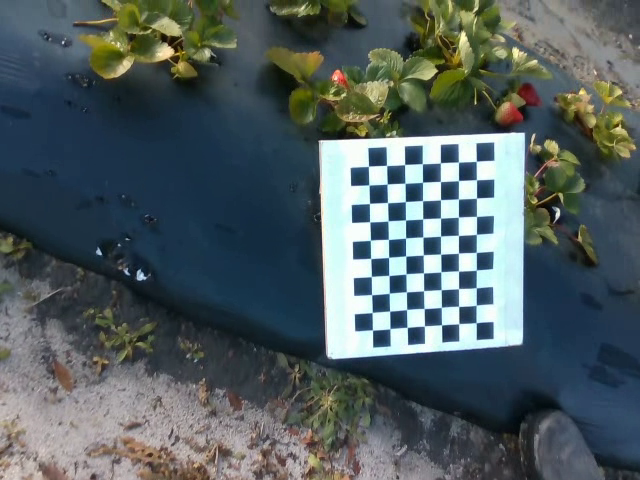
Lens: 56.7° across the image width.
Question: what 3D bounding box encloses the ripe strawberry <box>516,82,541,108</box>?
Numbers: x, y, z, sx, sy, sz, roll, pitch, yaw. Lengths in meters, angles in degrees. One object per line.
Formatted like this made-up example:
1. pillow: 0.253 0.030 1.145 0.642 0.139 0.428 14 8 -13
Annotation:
1. ripe strawberry: 0.402 -0.273 1.117 0.064 0.049 0.050 39 2 -6
